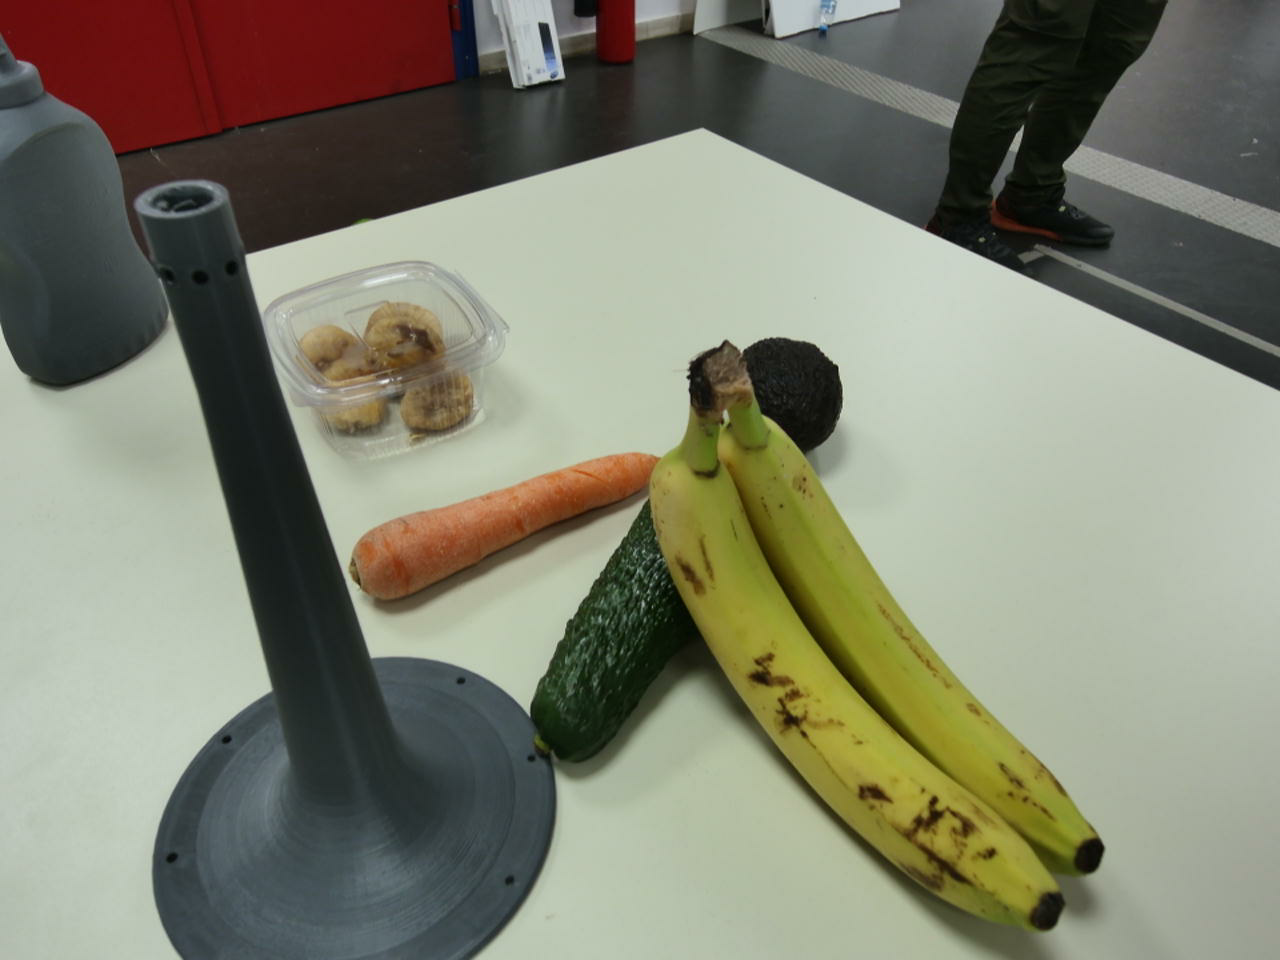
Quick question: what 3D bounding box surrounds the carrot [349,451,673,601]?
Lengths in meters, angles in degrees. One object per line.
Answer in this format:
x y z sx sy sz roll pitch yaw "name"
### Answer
-0.062 0.013 0.535 0.196 0.041 0.039 -25 45 -29 "carrot"
